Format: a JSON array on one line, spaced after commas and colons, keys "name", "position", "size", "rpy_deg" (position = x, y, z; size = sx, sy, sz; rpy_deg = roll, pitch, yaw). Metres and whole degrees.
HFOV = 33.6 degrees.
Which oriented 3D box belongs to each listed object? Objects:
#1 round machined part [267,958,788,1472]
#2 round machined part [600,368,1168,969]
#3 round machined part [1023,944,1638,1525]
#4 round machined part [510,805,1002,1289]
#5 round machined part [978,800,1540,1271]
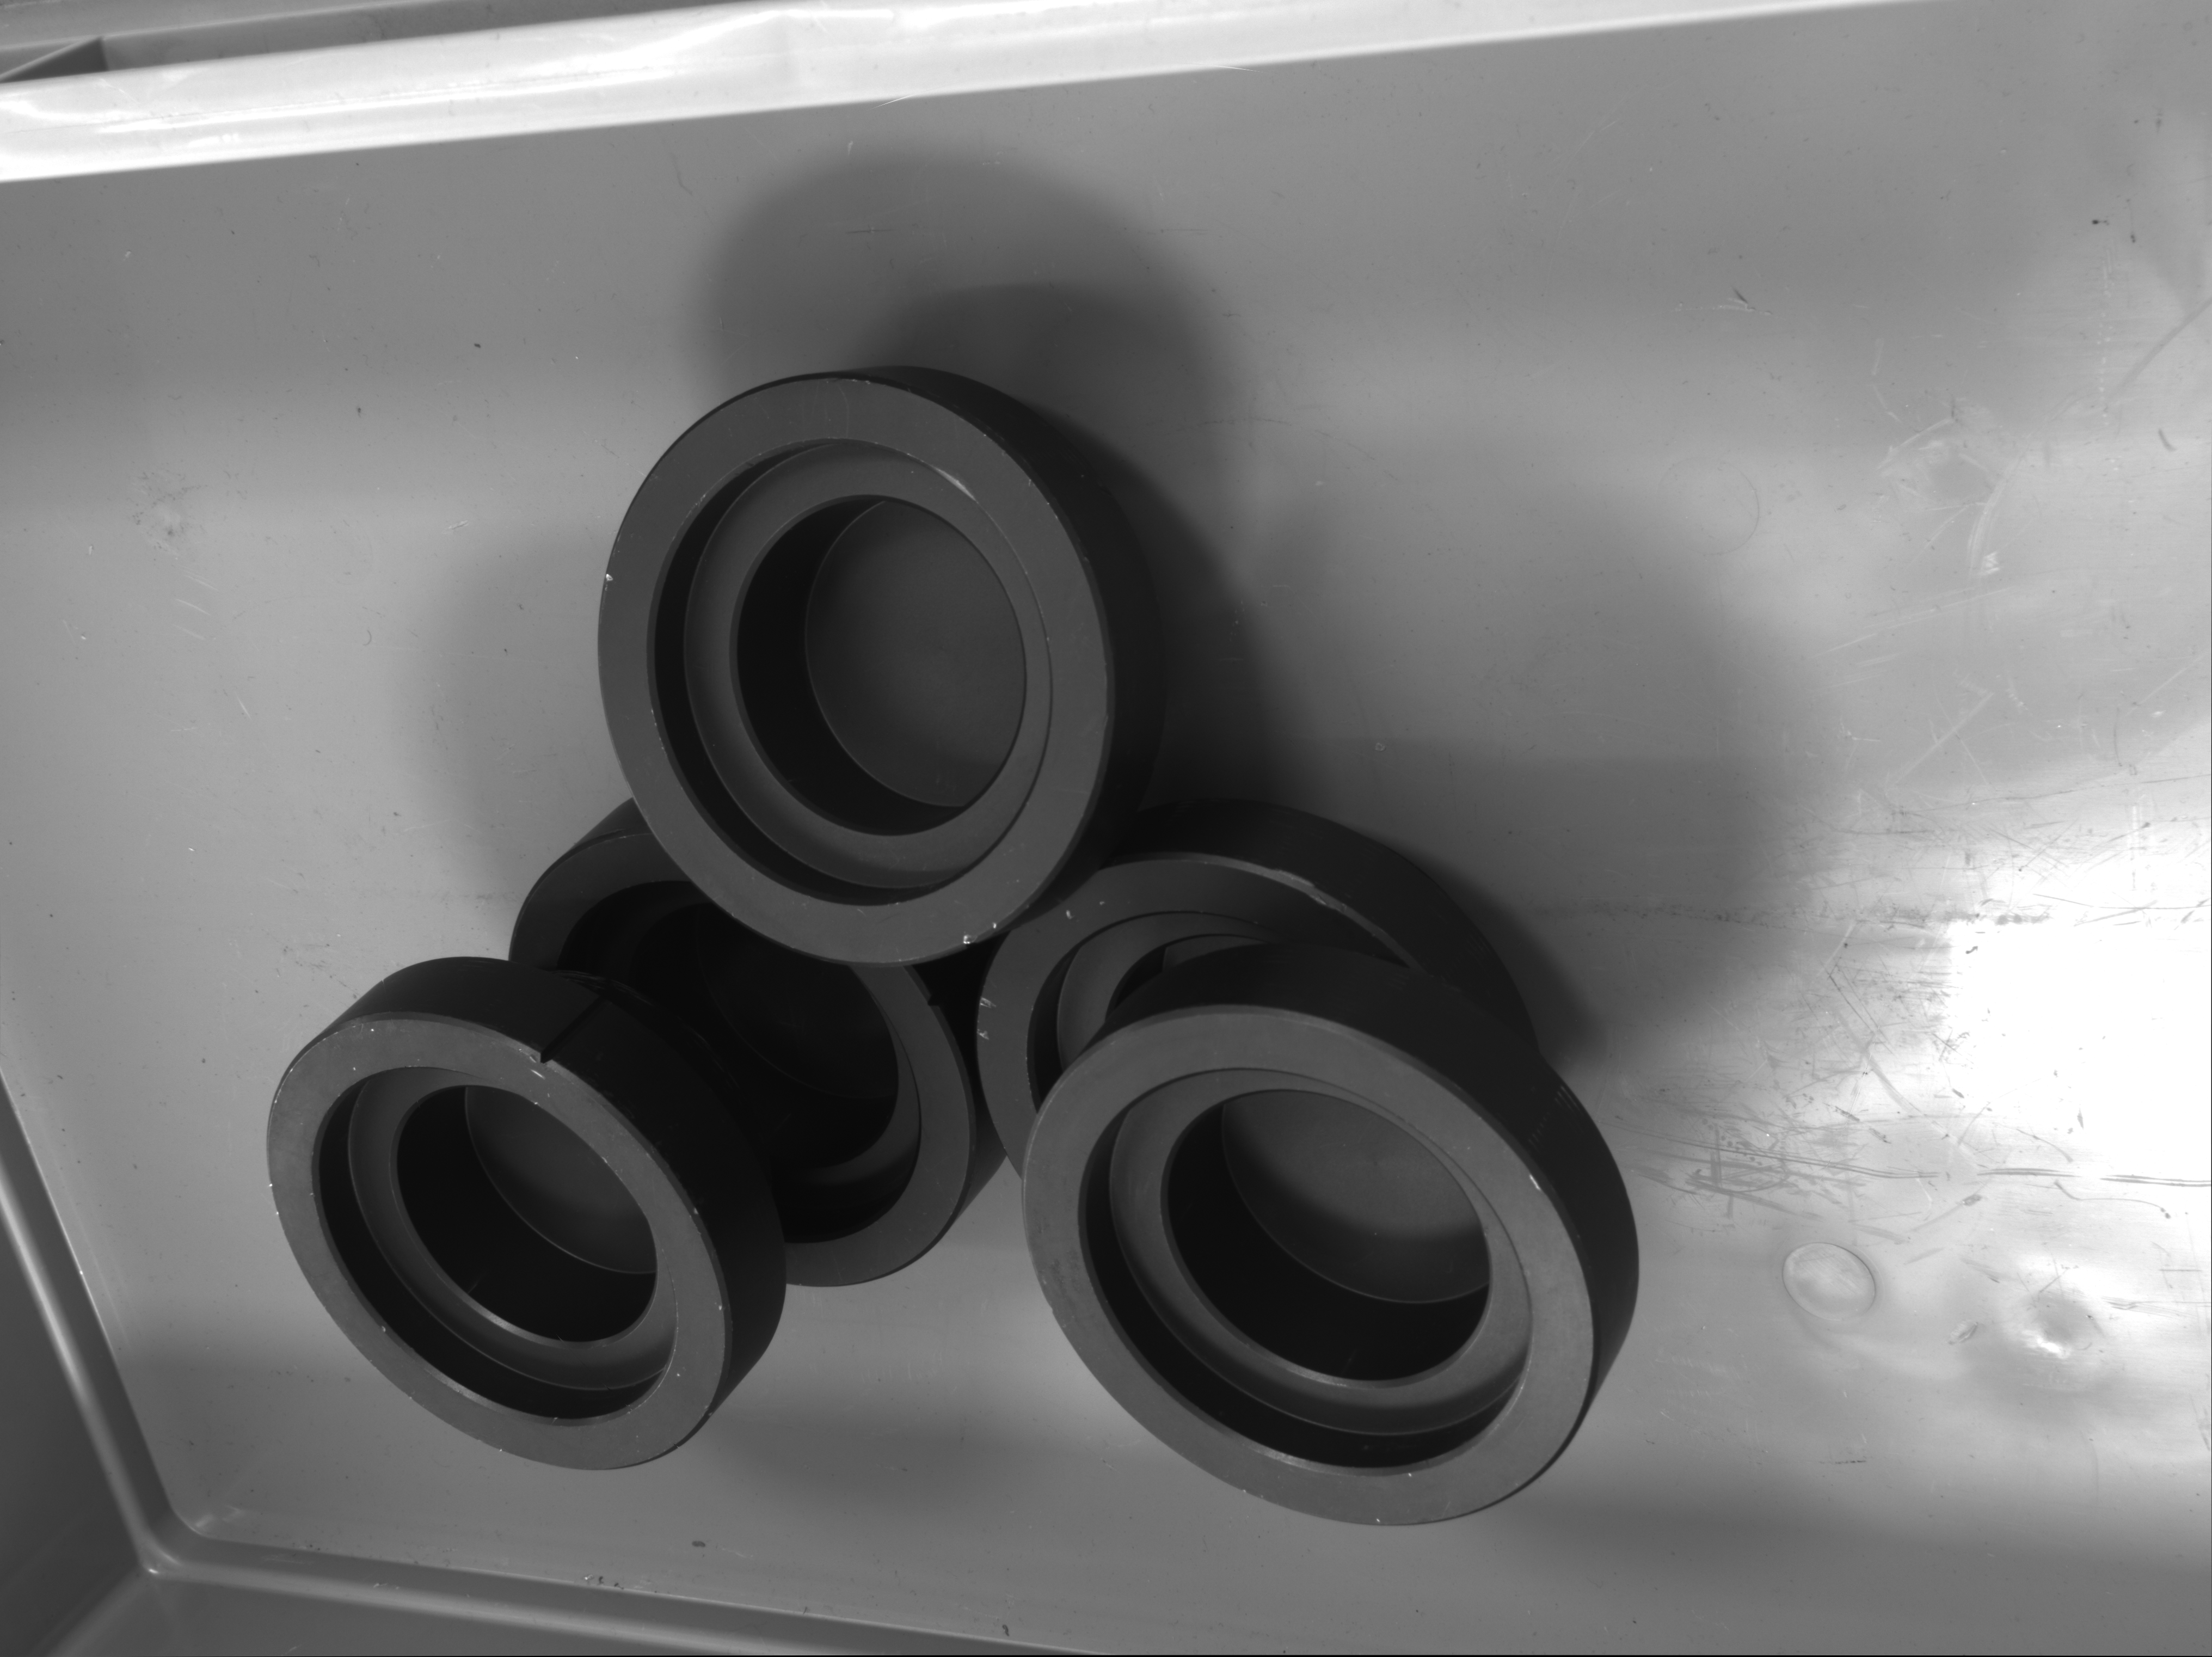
[{"name": "round machined part", "position": [-0.101, 0.066, 0.670], "size": [0.098, 0.042, 0.098], "rpy_deg": [13, 124, 21]}, {"name": "round machined part", "position": [-0.033, -0.028, 0.618], "size": [0.098, 0.042, 0.098], "rpy_deg": [6, 103, 26]}, {"name": "round machined part", "position": [0.039, 0.061, 0.593], "size": [0.098, 0.042, 0.098], "rpy_deg": [13, 124, 21]}, {"name": "round machined part", "position": [-0.058, 0.033, 0.682], "size": [0.098, 0.042, 0.098], "rpy_deg": [13, 124, 21]}, {"name": "round machined part", "position": [0.031, 0.038, 0.637], "size": [0.098, 0.042, 0.098], "rpy_deg": [13, 124, 21]}]
